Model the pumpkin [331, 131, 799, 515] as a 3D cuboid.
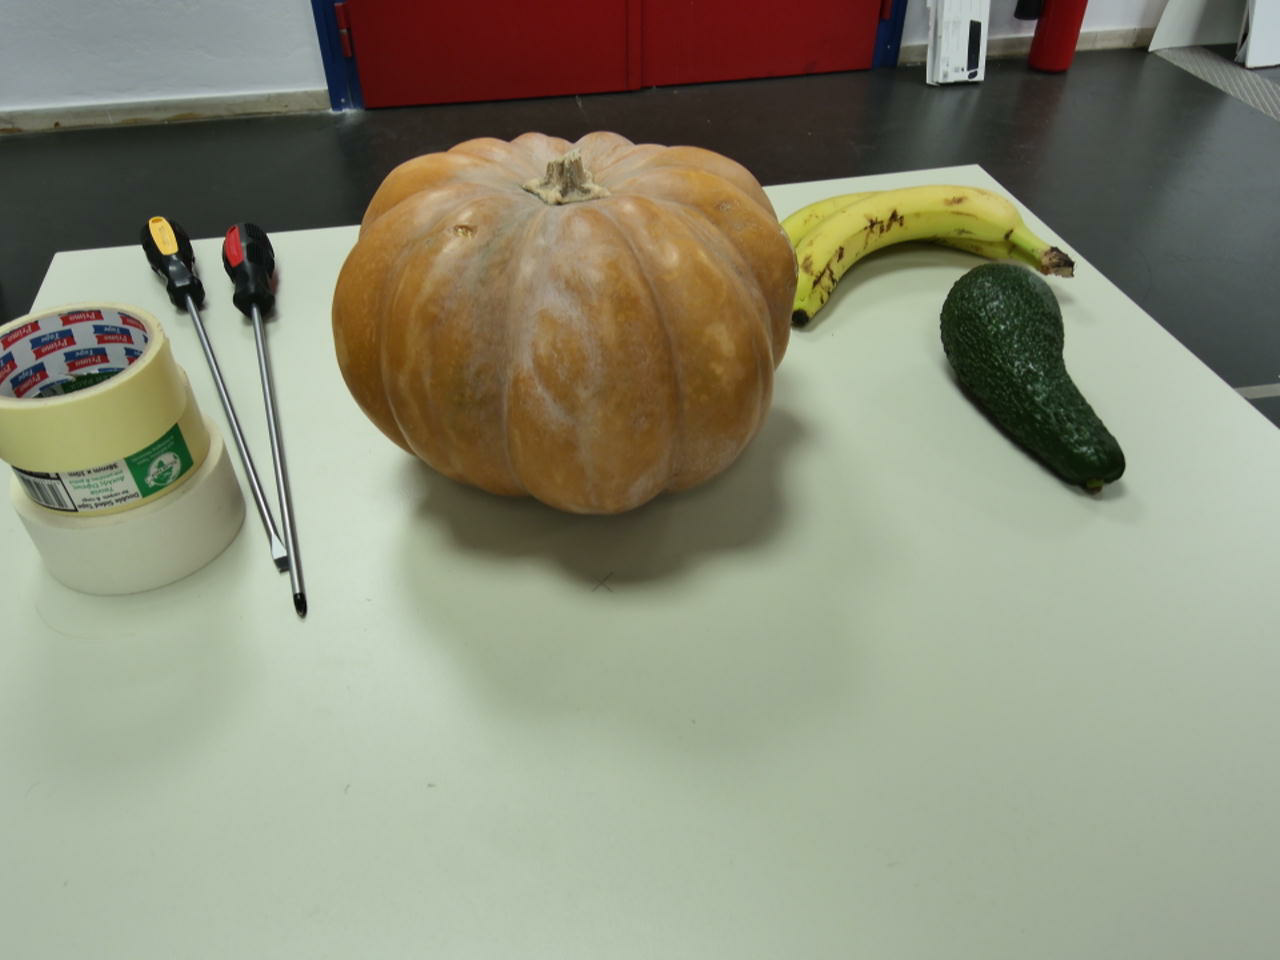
[{"bbox_3d":[-0.039,-0.097,0.575,0.277,0.181,0.277,0,39,0],"label":"pumpkin"}]
